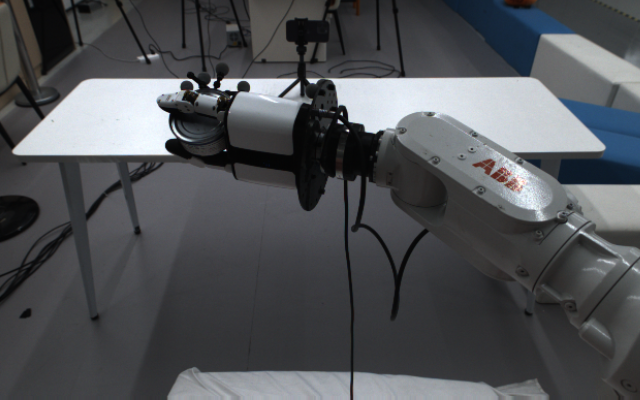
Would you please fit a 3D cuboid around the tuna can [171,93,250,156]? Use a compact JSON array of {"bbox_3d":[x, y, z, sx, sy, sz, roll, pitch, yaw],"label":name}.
[{"bbox_3d":[-0.148,-0.099,0.626,0.085,0.034,0.085,-3,62,5],"label":"tuna can"}]
